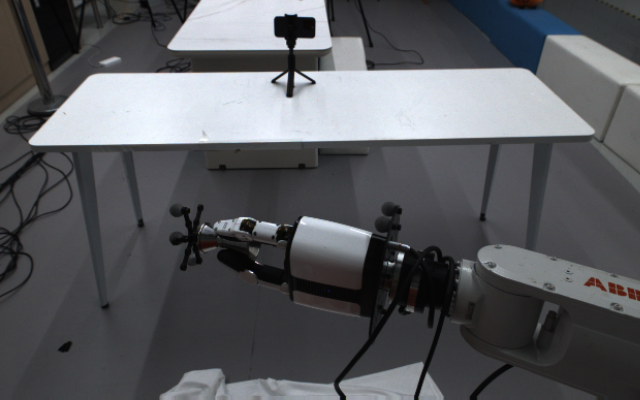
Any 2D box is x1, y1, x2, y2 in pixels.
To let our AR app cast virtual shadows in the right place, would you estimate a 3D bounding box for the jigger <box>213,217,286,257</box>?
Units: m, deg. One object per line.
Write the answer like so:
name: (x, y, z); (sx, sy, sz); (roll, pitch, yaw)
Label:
jigger: (-0.104, 0.046, 0.603); (0.071, 0.043, 0.043); (4, 34, 13)
